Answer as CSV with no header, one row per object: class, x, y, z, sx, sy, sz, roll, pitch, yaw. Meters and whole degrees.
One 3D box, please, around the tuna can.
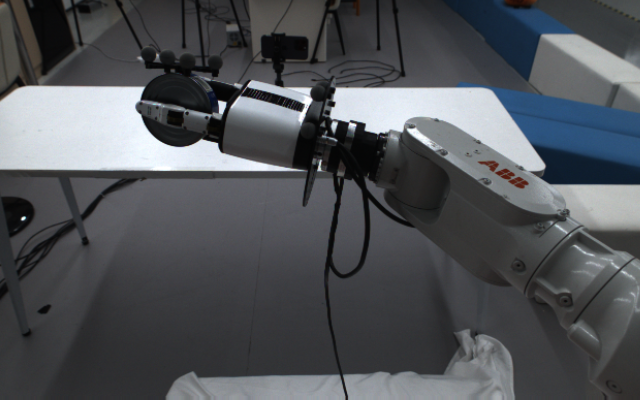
tuna can,-0.166,-0.109,0.577,0.085,0.085,0.034,6,17,5
